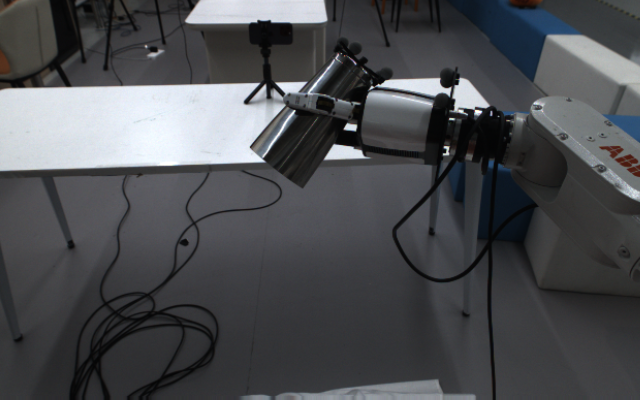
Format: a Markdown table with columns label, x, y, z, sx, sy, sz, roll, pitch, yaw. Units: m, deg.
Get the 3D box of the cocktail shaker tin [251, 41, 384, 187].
| label | x | y | z | sx | sy | sz | roll | pitch | yaw |
| --- | --- | --- | --- | --- | --- | --- | --- | --- | --- |
| cocktail shaker tin | -0.006 | -0.114 | 0.654 | 0.170 | 0.093 | 0.093 | -50 | 46 | 4 |
